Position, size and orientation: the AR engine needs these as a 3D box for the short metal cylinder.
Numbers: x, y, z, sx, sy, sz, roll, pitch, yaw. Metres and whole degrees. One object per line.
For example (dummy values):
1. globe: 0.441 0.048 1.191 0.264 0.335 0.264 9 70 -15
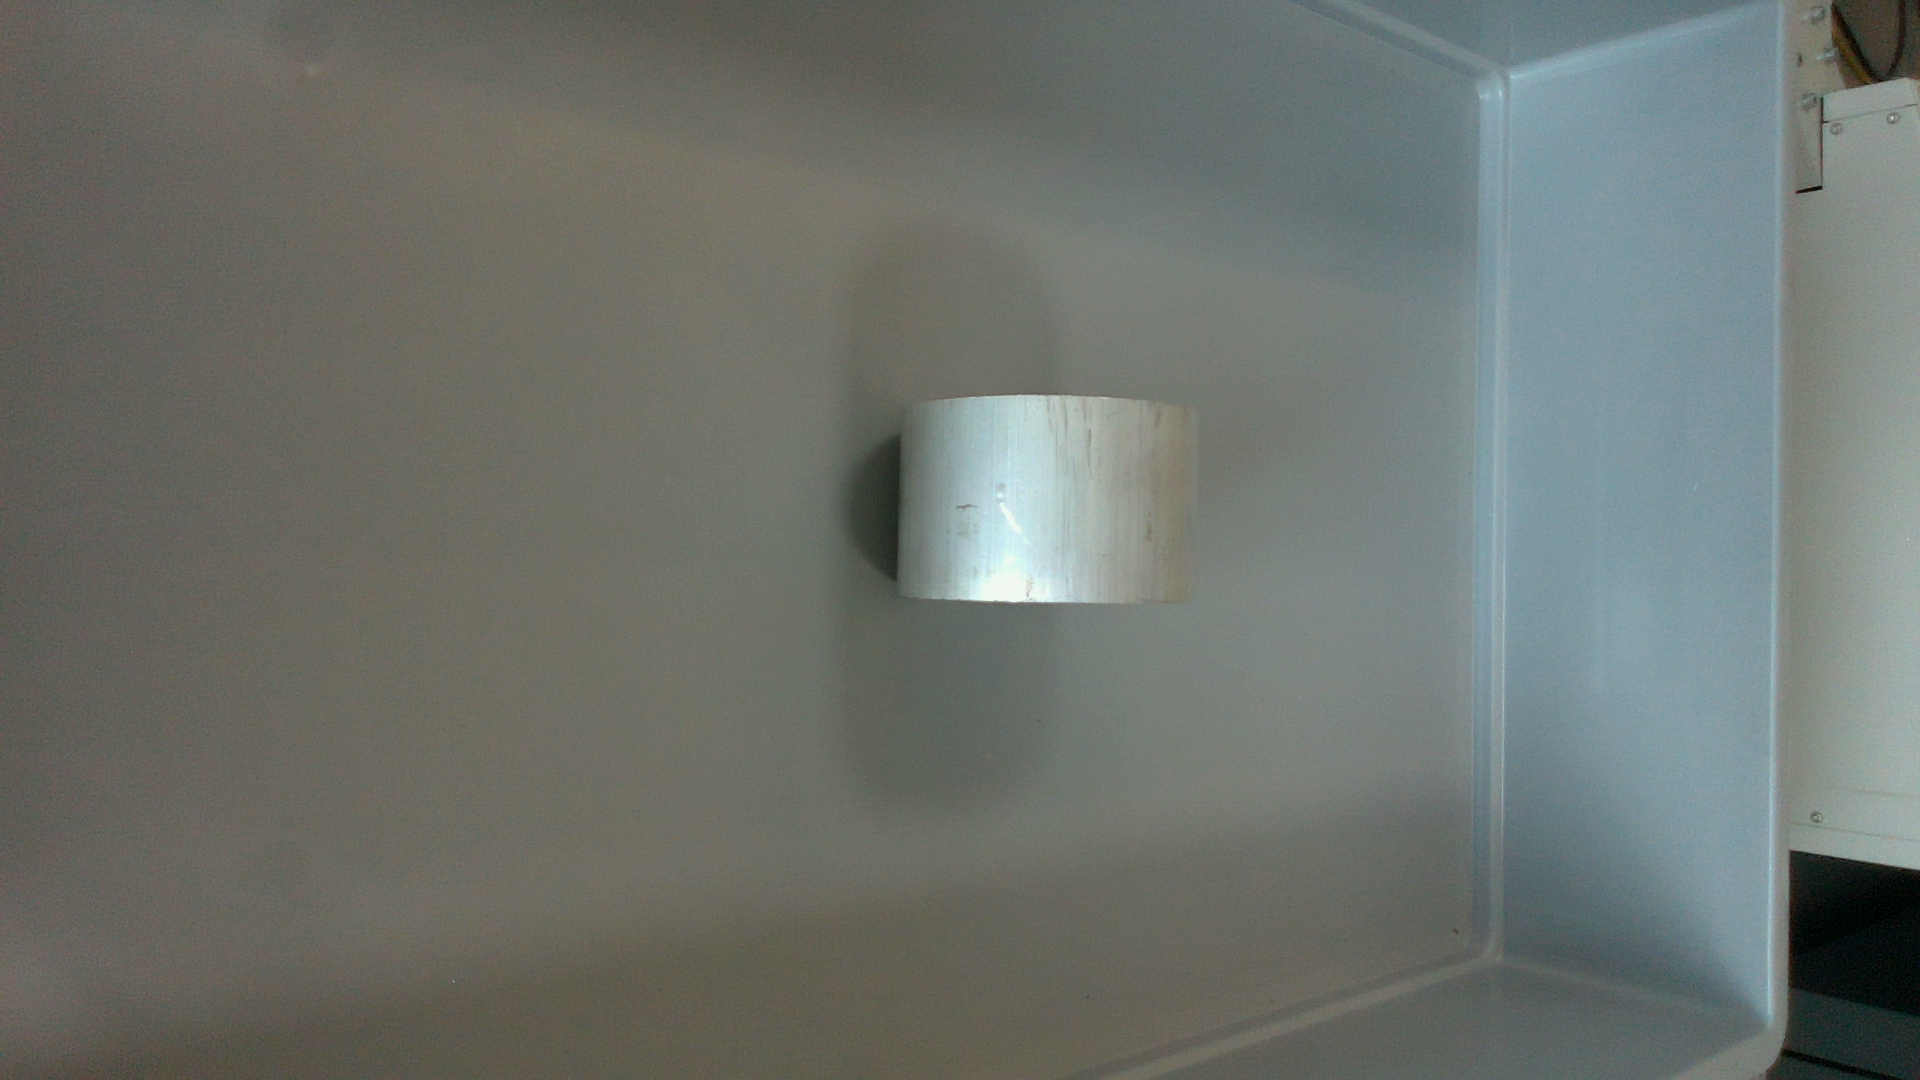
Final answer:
1. short metal cylinder: 0.023 -0.009 0.369 0.080 0.080 0.050 2 89 -40
